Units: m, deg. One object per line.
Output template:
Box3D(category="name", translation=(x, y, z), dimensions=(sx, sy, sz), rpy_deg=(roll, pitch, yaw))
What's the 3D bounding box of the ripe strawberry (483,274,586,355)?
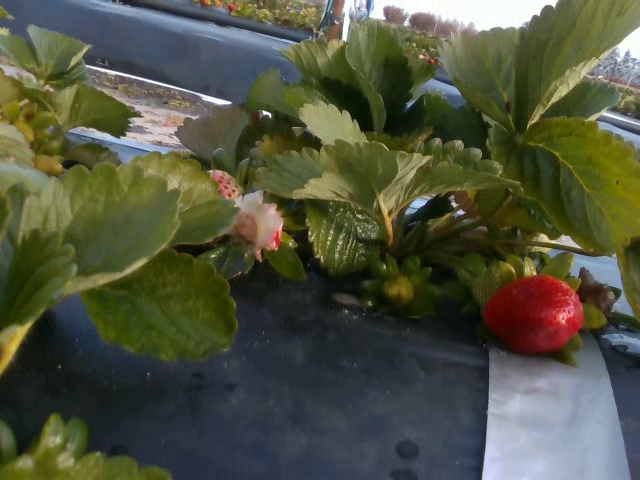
Box3D(category="ripe strawberry", translation=(0.086, 0.027, 0.235), dimensions=(0.050, 0.035, 0.055), rpy_deg=(27, 22, 14))
